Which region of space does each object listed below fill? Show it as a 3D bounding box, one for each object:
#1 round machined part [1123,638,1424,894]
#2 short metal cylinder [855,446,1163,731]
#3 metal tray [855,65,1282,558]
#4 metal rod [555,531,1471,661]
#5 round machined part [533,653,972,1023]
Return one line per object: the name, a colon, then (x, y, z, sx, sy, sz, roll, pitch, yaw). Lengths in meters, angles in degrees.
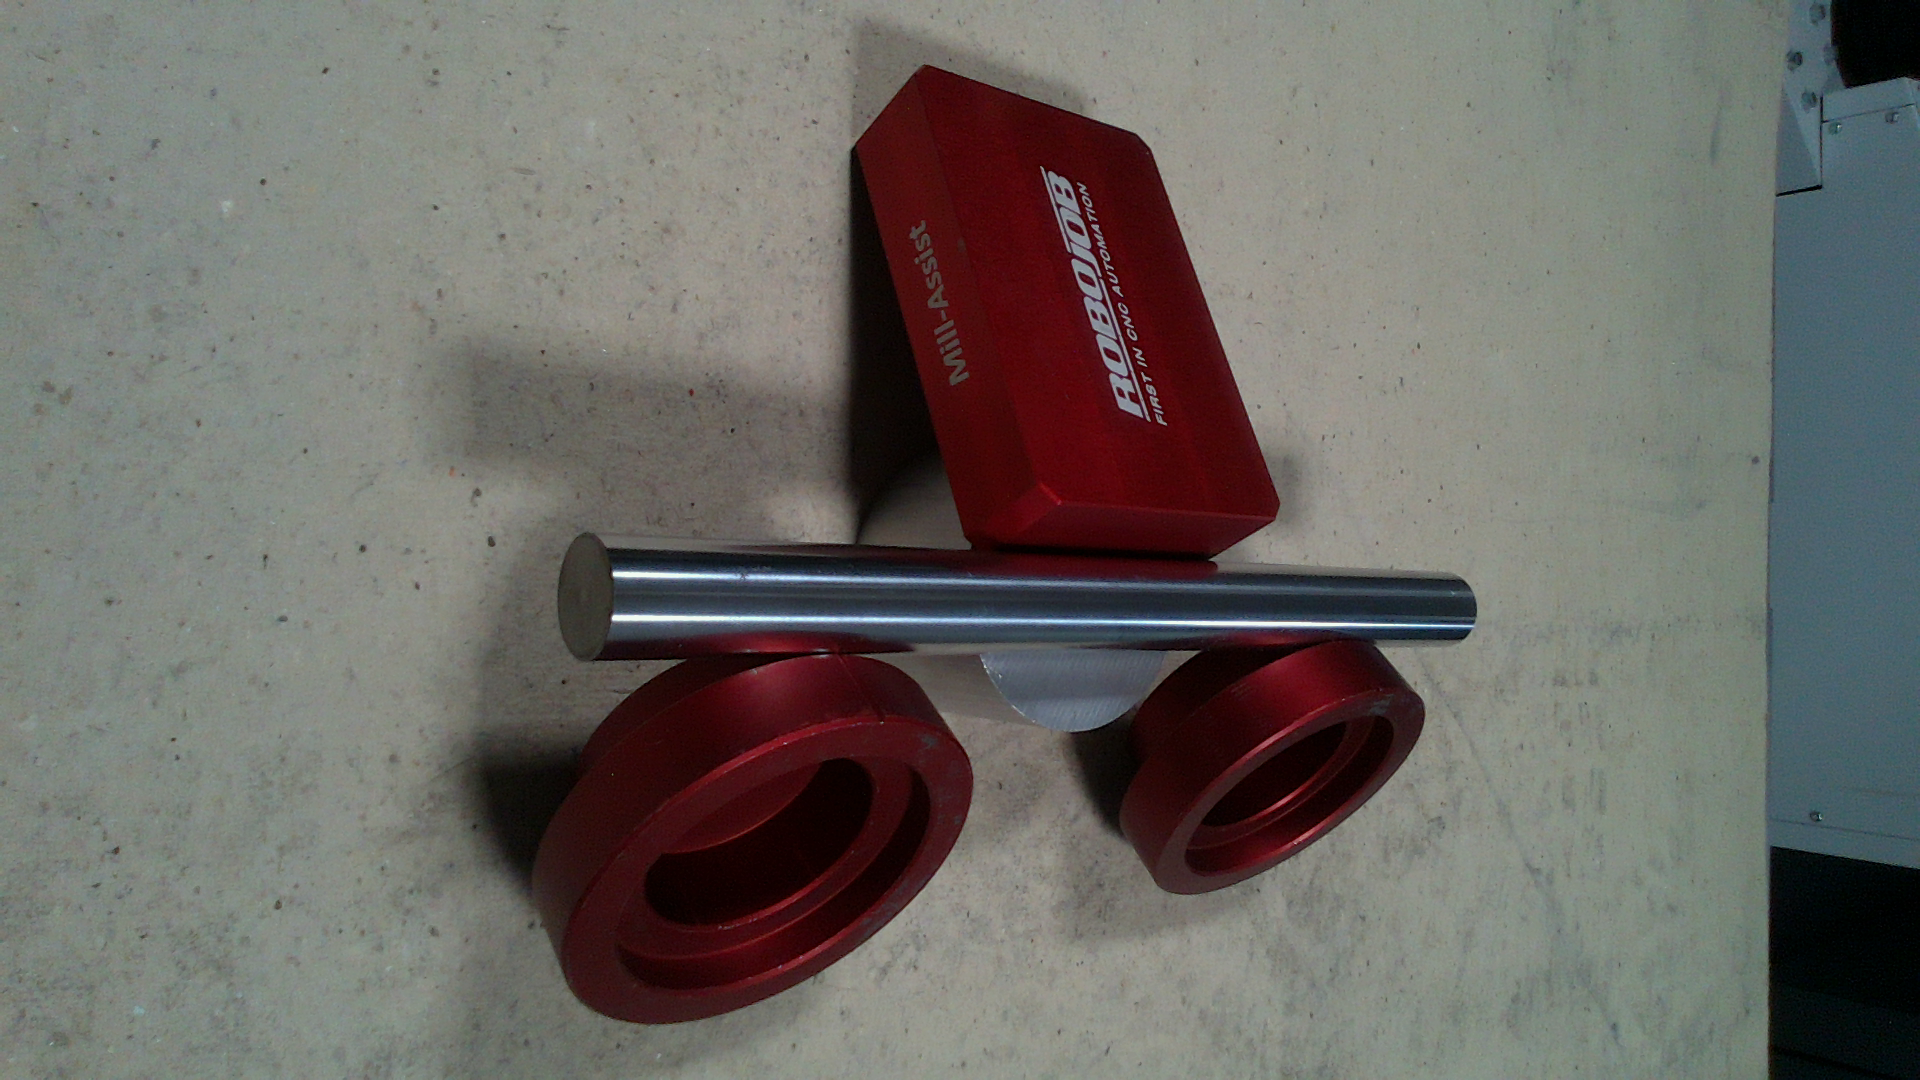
round machined part: (0.093, 0.064, 0.432, 0.098, 0.042, 0.098, -22, 143, -17)
short metal cylinder: (0.016, 0.011, 0.387, 0.080, 0.050, 0.080, 0, 90, -40)
metal tray: (0.029, -0.059, 0.375, 0.090, 0.030, 0.130, 3, 62, -40)
metal rod: (0.043, 0.017, 0.361, 0.301, 0.025, 0.025, 3, 88, -40)
round machined part: (-0.049, 0.062, 0.316, 0.098, 0.042, 0.098, -23, 140, -21)
